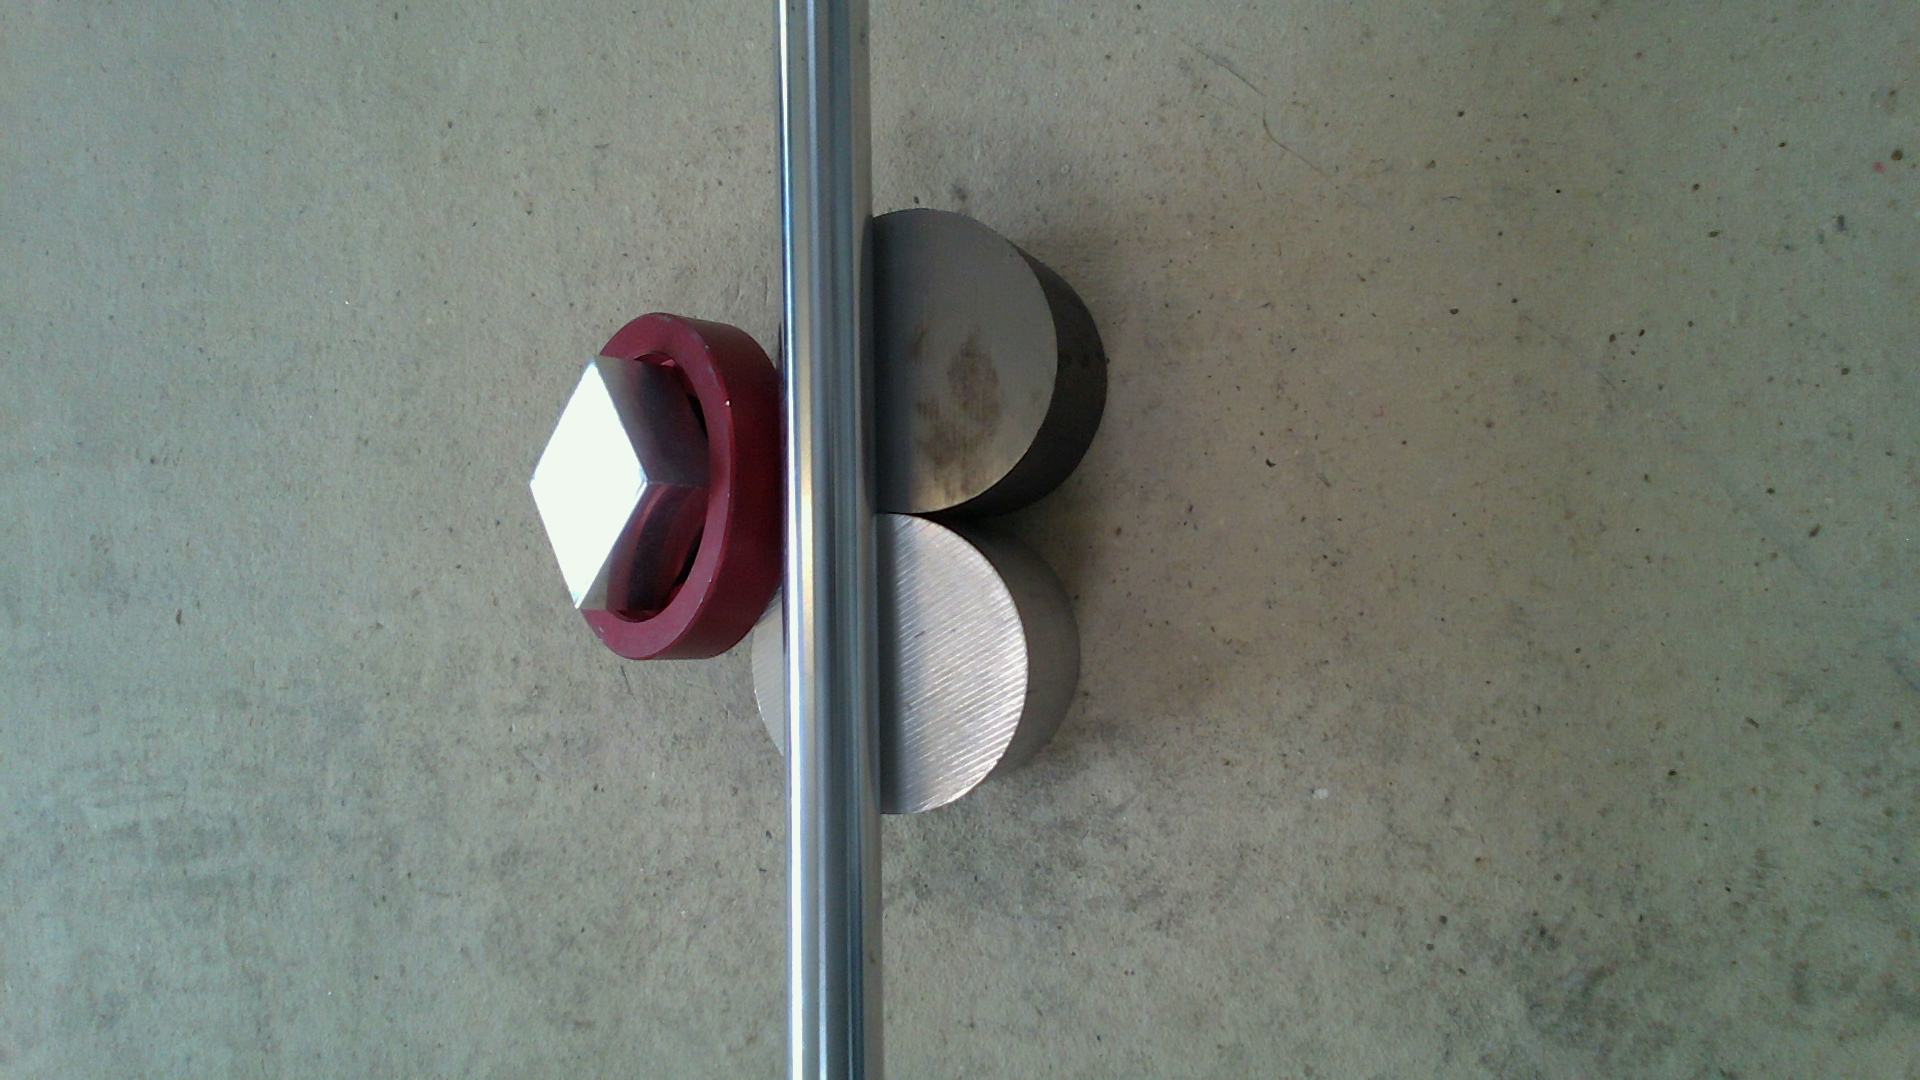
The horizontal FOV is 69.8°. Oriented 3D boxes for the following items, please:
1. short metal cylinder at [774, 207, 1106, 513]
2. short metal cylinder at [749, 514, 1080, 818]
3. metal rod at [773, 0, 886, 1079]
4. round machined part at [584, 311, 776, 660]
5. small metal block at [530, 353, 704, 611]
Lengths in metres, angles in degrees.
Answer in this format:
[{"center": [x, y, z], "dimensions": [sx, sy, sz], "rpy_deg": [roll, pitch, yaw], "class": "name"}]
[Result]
[{"center": [-0.004, -0.047, 0.384], "dimensions": [0.080, 0.050, 0.080], "rpy_deg": [0, 90, 20], "class": "short metal cylinder"}, {"center": [-0.012, 0.034, 0.386], "dimensions": [0.080, 0.050, 0.080], "rpy_deg": [0, 89, 20], "class": "short metal cylinder"}, {"center": [-0.034, -0.011, 0.355], "dimensions": [0.025, 0.025, 0.300], "rpy_deg": [-1, 89, 20], "class": "metal rod"}, {"center": [-0.075, -0.014, 0.400], "dimensions": [0.098, 0.042, 0.098], "rpy_deg": [-4, 85, 49], "class": "round machined part"}, {"center": [-0.094, -0.015, 0.387], "dimensions": [0.050, 0.025, 0.050], "rpy_deg": [-53, 51, 32], "class": "small metal block"}]
